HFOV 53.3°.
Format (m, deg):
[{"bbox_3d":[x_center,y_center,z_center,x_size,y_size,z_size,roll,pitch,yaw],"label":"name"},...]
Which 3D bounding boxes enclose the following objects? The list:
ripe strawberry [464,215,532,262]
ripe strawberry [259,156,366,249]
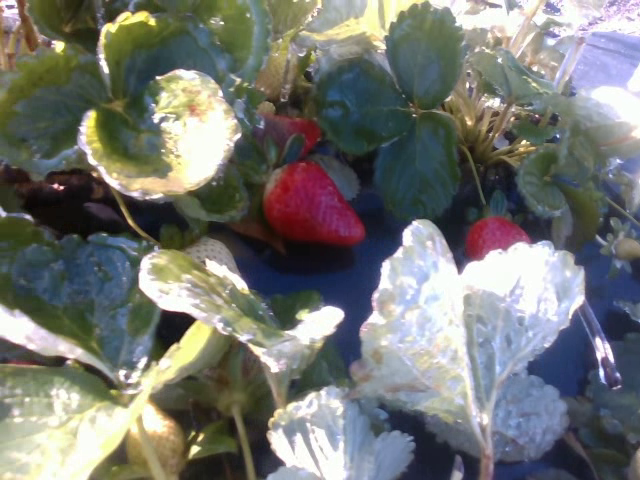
[{"bbox_3d":[0.091,0.008,0.317,0.039,0.047,0.040,29,-43,-11],"label":"ripe strawberry"},{"bbox_3d":[0.001,-0.016,0.302,0.056,0.044,0.040,39,-34,-4],"label":"ripe strawberry"}]
